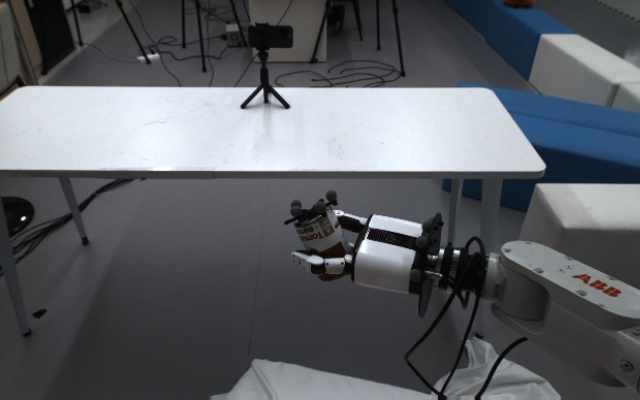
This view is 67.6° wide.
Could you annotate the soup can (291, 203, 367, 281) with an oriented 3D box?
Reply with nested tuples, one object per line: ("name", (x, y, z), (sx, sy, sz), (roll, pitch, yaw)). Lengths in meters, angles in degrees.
("soup can", (0.010, 0.067, 0.761), (0.067, 0.101, 0.067), (-23, 16, 7))
